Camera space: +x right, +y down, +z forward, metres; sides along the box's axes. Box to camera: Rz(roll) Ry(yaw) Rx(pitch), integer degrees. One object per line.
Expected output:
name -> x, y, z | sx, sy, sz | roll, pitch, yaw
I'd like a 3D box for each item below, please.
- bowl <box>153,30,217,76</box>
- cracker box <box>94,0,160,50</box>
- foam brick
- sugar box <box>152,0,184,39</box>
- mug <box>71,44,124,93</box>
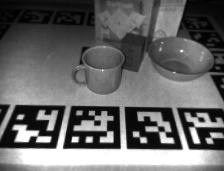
bowl -> 0.174, -0.073, 0.532 | 0.162, 0.055, 0.161 | 2, 46, -1
cracker box -> 0.036, -0.216, 0.571 | 0.163, 0.214, 0.072 | 22, 46, 18
foam brick -> 0.051, -0.094, 0.551 | 0.052, 0.078, 0.051 | 11, 45, 10
sugar box -> 0.146, -0.211, 0.598 | 0.092, 0.177, 0.045 | 15, 46, 13
mug -> -0.030, -0.037, 0.474 | 0.117, 0.082, 0.092 | -7, 37, -7
